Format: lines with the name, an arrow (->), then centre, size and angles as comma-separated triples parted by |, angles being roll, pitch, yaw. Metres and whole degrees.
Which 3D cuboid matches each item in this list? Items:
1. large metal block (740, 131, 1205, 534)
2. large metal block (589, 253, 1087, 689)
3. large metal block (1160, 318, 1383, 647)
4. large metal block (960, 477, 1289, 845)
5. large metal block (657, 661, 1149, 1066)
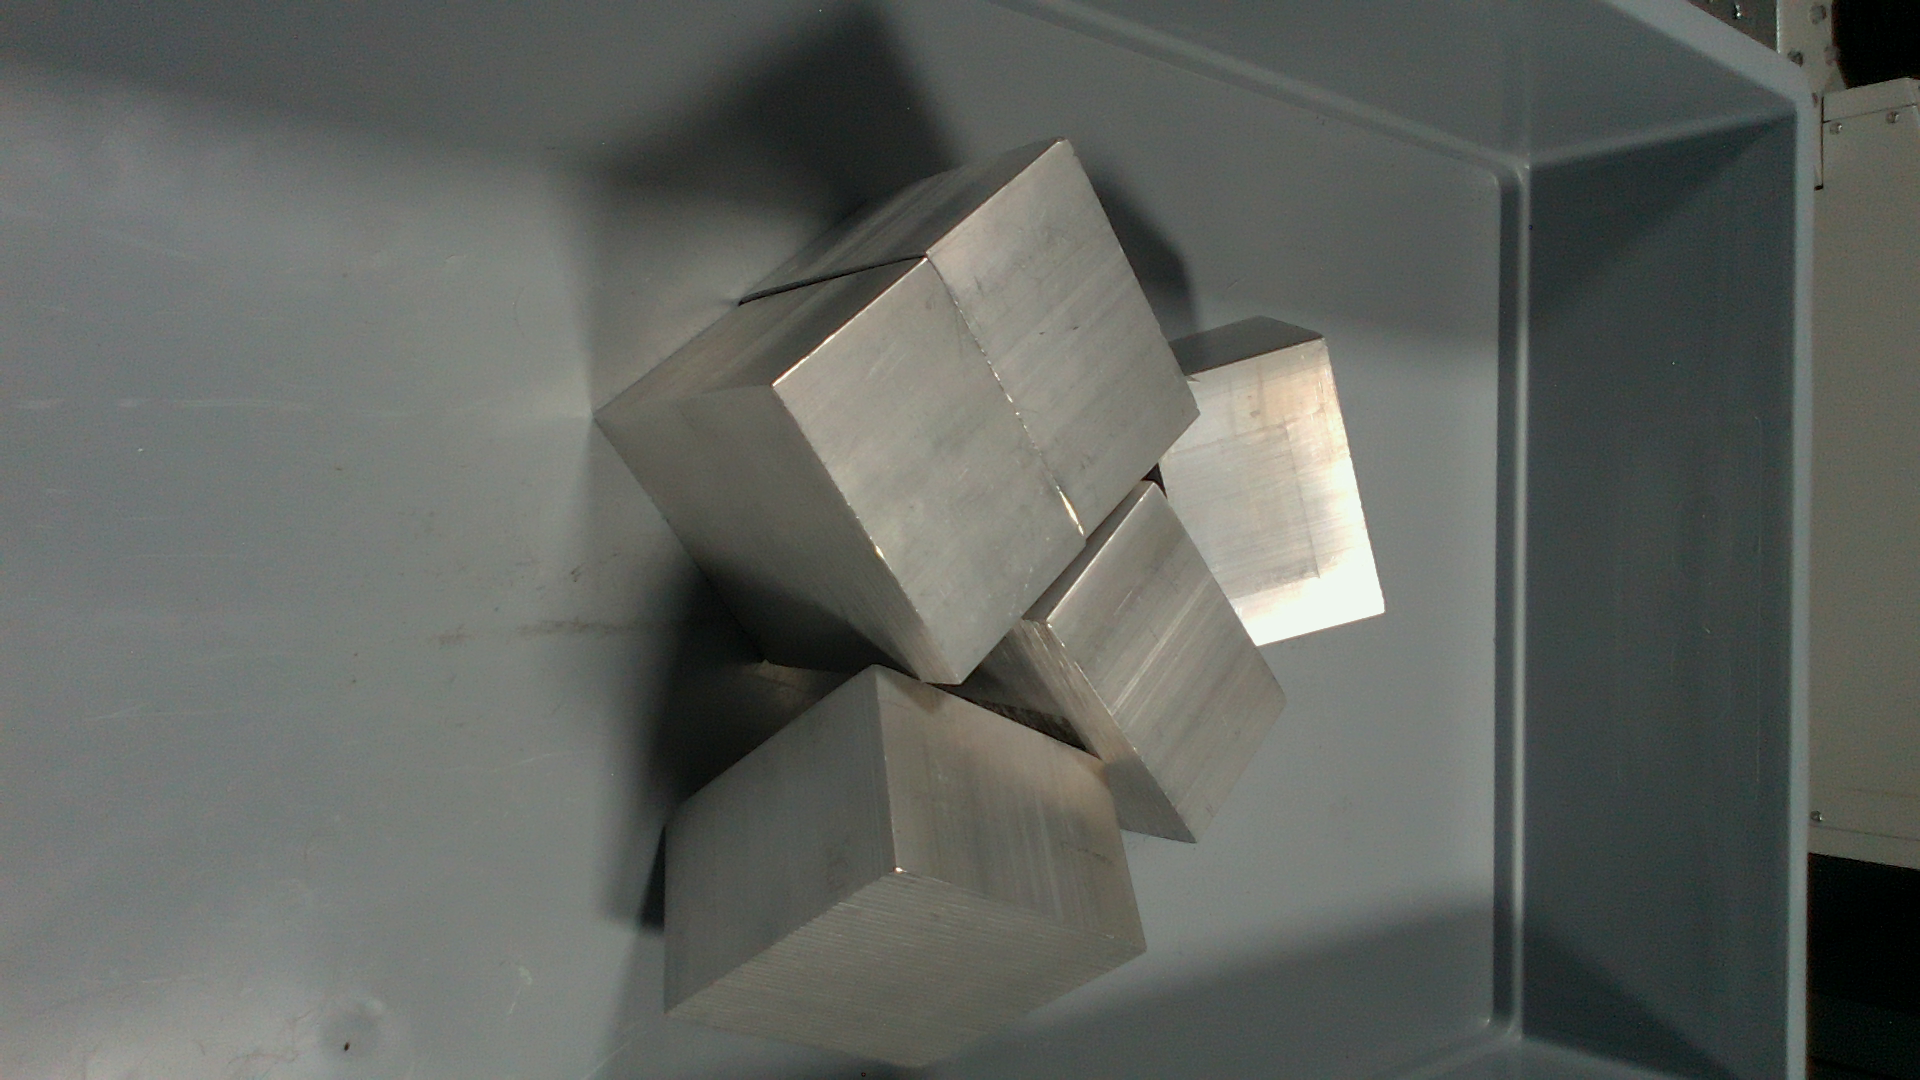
large metal block -> 0.003, -0.048, 0.354 | 0.050, 0.080, 0.080 | -46, 117, -30
large metal block -> -0.029, -0.015, 0.328 | 0.050, 0.080, 0.080 | -45, 117, -30
large metal block -> 0.081, -0.020, 0.411 | 0.050, 0.080, 0.080 | -16, 103, 2
large metal block -> 0.029, 0.031, 0.375 | 0.050, 0.080, 0.080 | -49, 119, -29
large metal block -> -0.015, 0.082, 0.331 | 0.080, 0.080, 0.050 | 28, 38, -36
